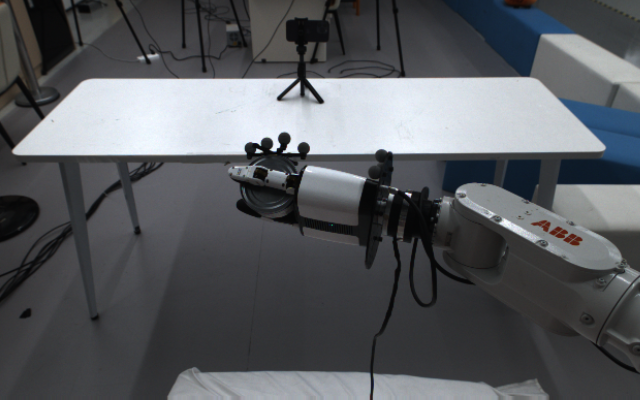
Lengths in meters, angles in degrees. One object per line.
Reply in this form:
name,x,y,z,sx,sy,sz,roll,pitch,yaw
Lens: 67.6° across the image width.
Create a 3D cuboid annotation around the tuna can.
tuna can,-0.066,-0.018,0.682,0.085,0.034,0.085,-3,73,10
